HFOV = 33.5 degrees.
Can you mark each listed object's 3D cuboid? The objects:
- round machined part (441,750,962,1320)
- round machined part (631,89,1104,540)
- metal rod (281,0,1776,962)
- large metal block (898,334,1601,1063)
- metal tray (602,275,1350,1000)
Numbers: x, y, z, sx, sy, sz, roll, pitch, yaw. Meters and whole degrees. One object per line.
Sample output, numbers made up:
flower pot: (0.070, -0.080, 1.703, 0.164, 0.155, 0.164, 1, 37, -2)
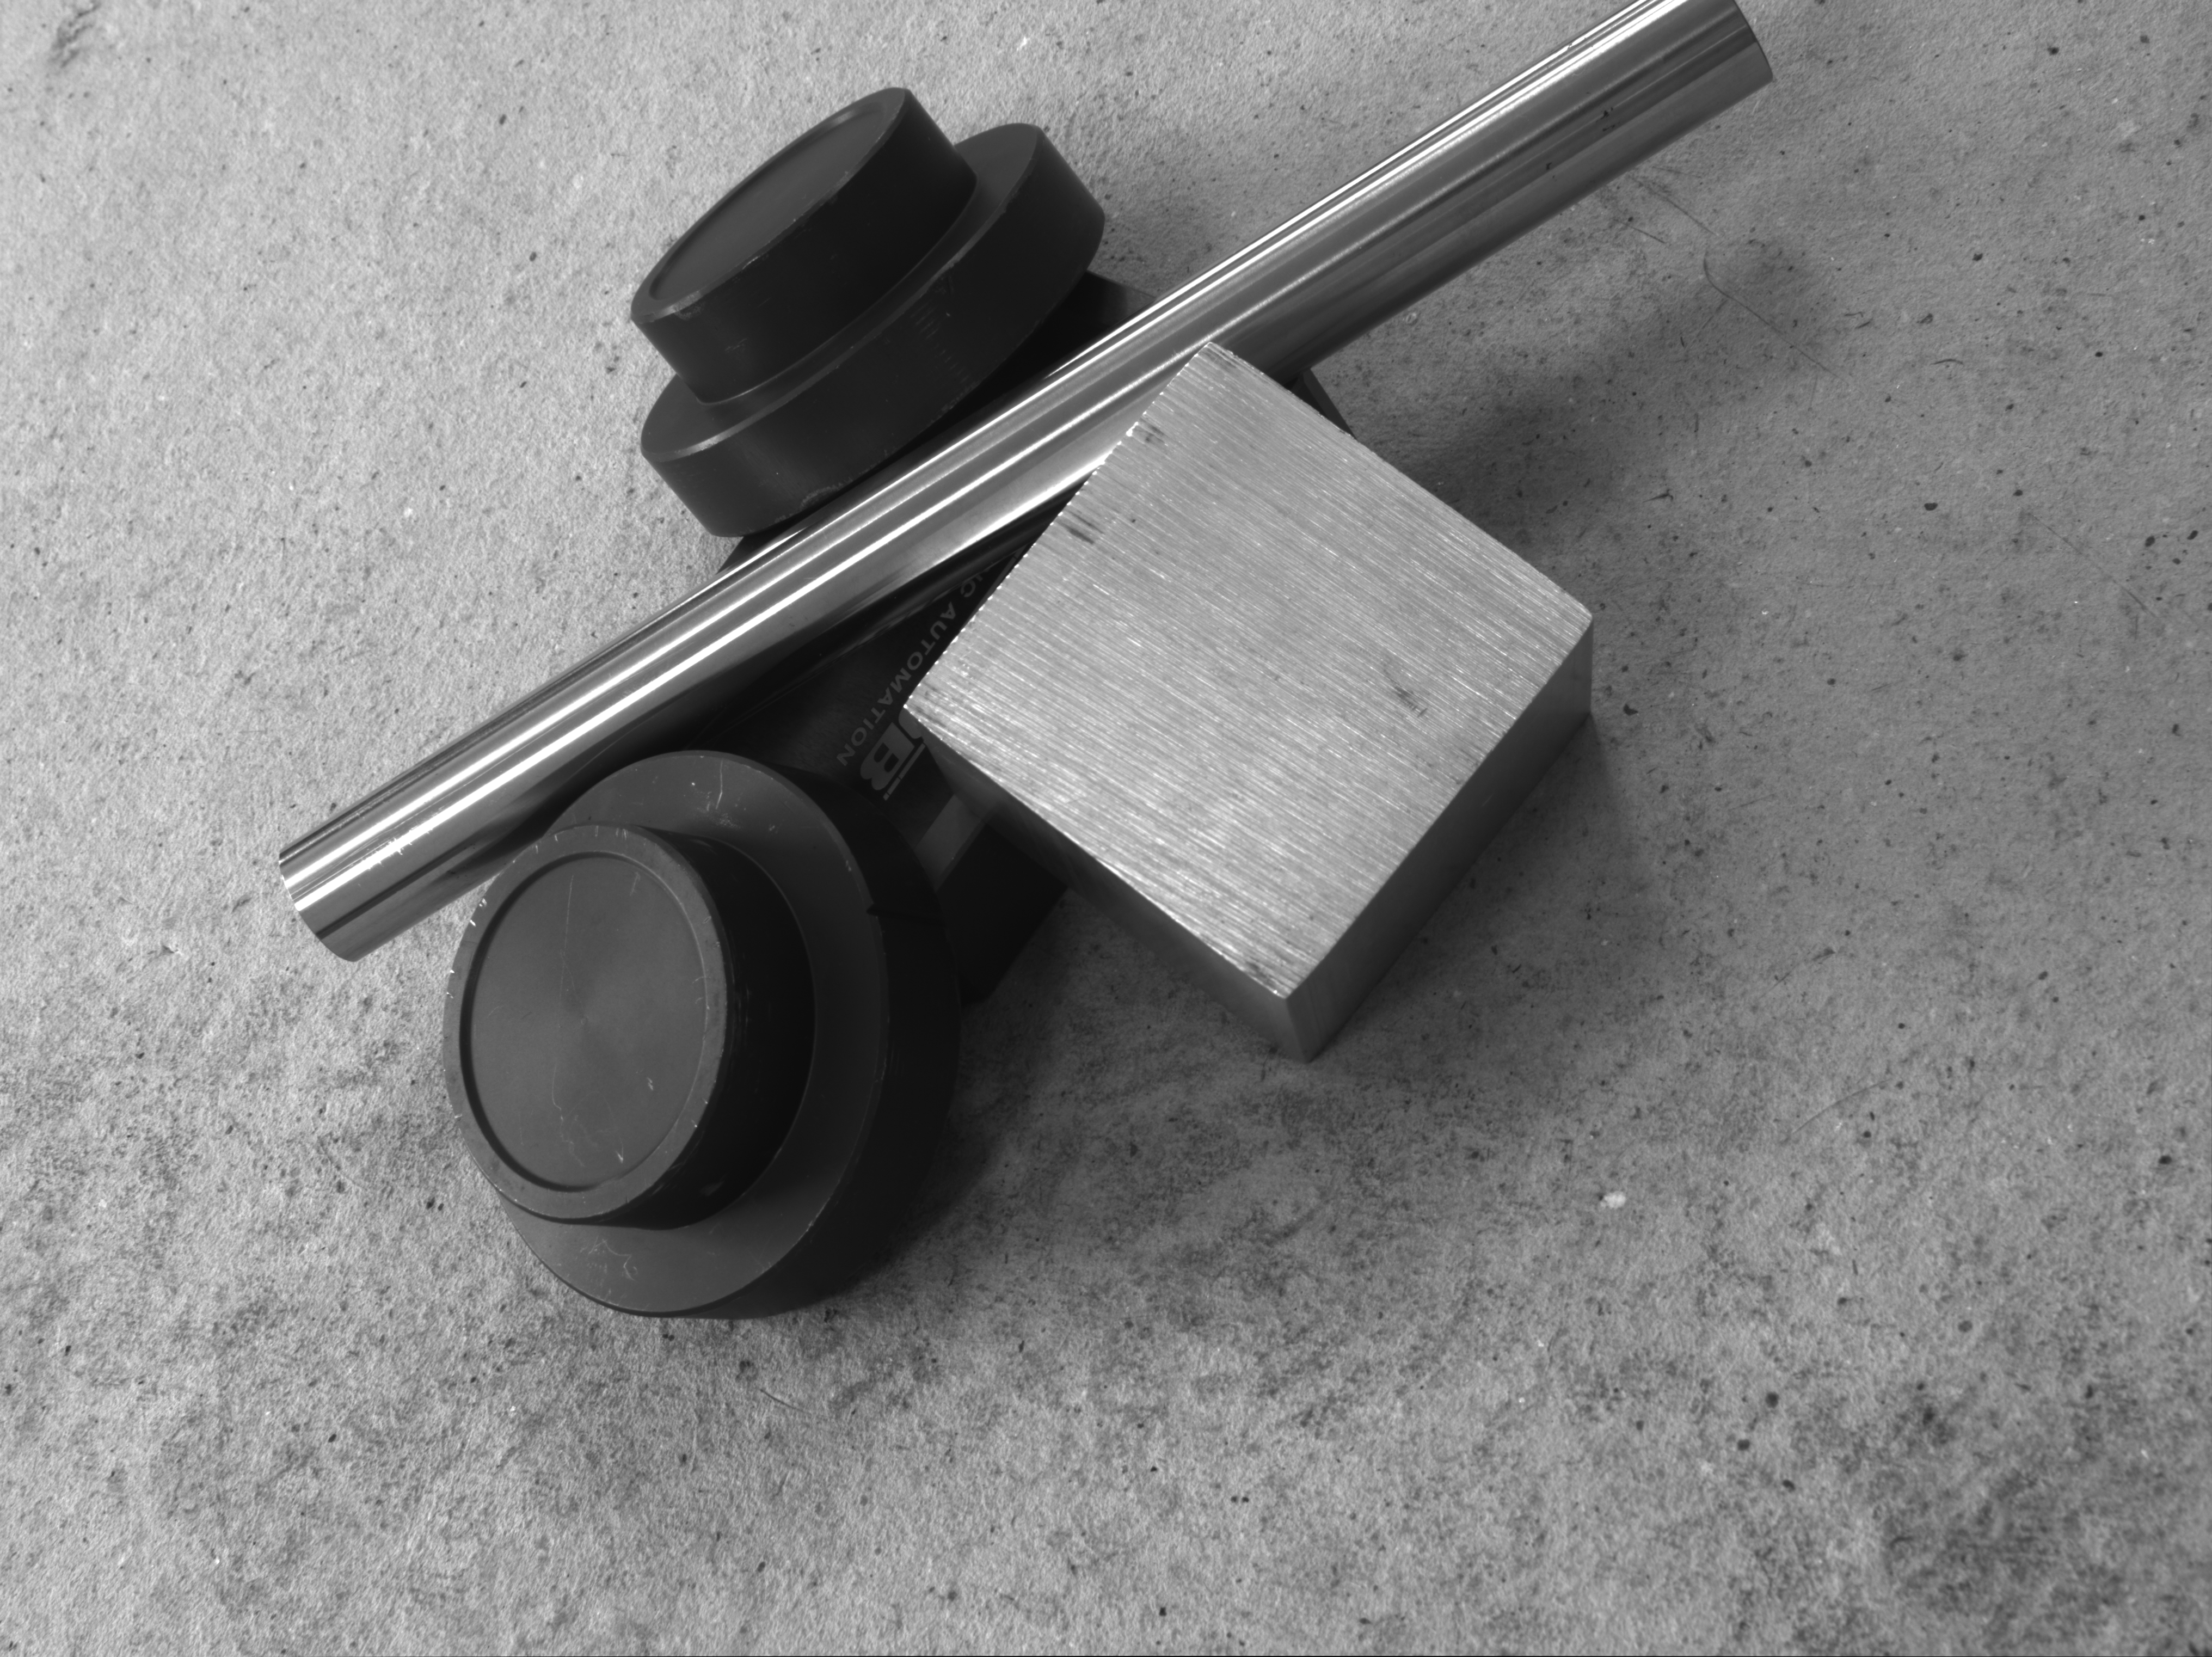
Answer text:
round machined part: (-0.076, 0.035, 0.632, 0.098, 0.042, 0.098, -7, 78, 35)
round machined part: (-0.051, -0.103, 0.700, 0.098, 0.042, 0.098, -34, 23, 16)
metal rod: (-0.018, -0.063, 0.656, 0.300, 0.025, 0.025, -31, 51, 8)
large metal block: (0.025, -0.020, 0.610, 0.080, 0.050, 0.080, 37, 82, 14)
metal tray: (-0.025, -0.041, 0.682, 0.090, 0.030, 0.130, 27, 77, 37)
